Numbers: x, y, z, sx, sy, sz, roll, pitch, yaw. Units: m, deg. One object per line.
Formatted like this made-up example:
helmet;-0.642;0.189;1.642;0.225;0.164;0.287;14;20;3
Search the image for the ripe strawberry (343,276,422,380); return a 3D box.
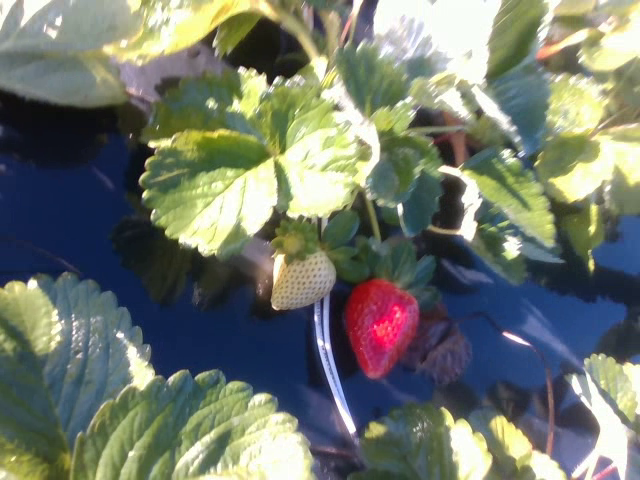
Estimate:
ripe strawberry;0.045;0.053;0.373;0.040;0.062;0.080;-10;39;26
